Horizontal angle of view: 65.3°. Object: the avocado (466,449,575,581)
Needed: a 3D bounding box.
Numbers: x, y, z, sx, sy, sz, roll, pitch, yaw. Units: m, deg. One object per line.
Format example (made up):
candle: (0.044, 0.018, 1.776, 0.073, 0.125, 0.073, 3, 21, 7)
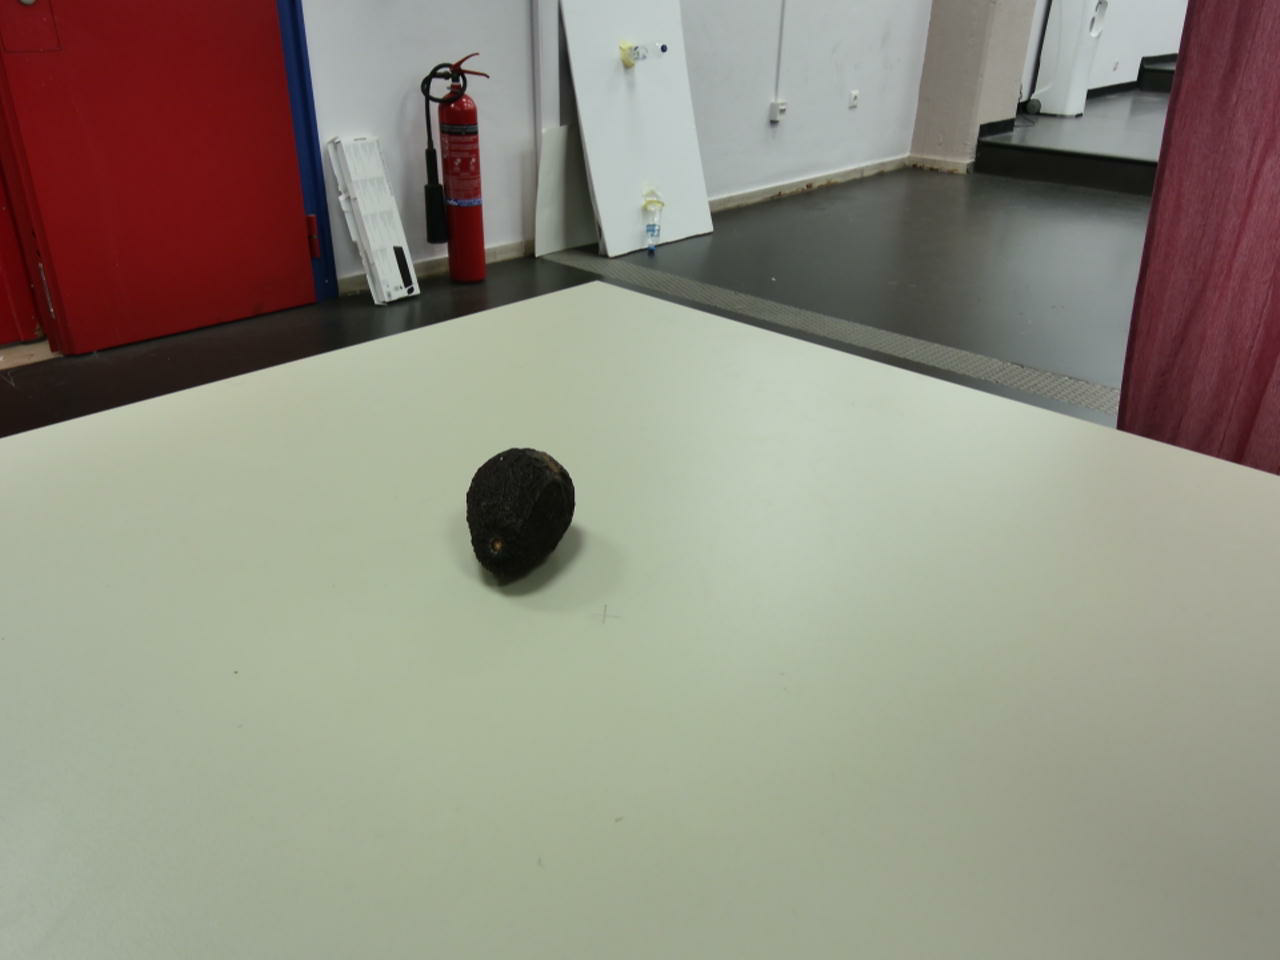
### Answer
avocado: (-0.072, 0.017, 0.579, 0.062, 0.062, 0.092, 8, 27, 16)
